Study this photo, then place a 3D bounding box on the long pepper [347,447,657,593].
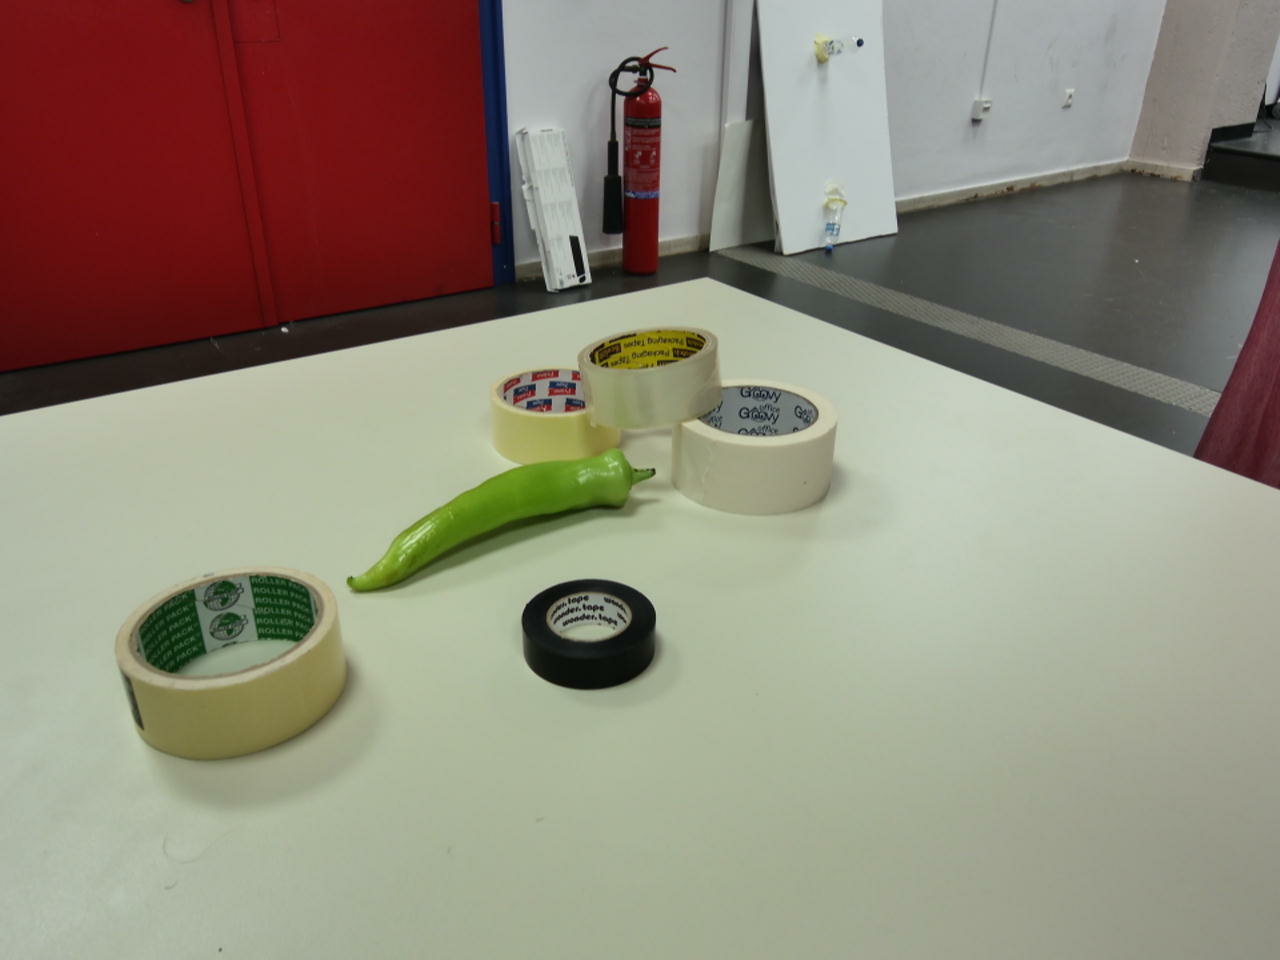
[{"bbox_3d":[-0.079,0.016,0.580,0.197,0.038,0.047,-16,31,-31],"label":"long pepper"}]
